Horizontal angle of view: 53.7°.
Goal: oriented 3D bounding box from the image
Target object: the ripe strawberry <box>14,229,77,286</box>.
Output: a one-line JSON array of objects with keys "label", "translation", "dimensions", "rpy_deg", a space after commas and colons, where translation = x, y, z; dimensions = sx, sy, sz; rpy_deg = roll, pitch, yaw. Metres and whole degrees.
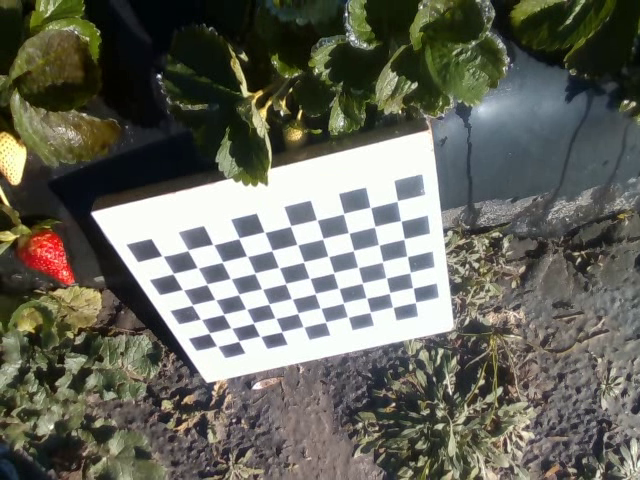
[{"label": "ripe strawberry", "translation": [-0.240, 0.018, 0.554], "dimensions": [0.048, 0.069, 0.040], "rpy_deg": [-26, 35, 19]}]
